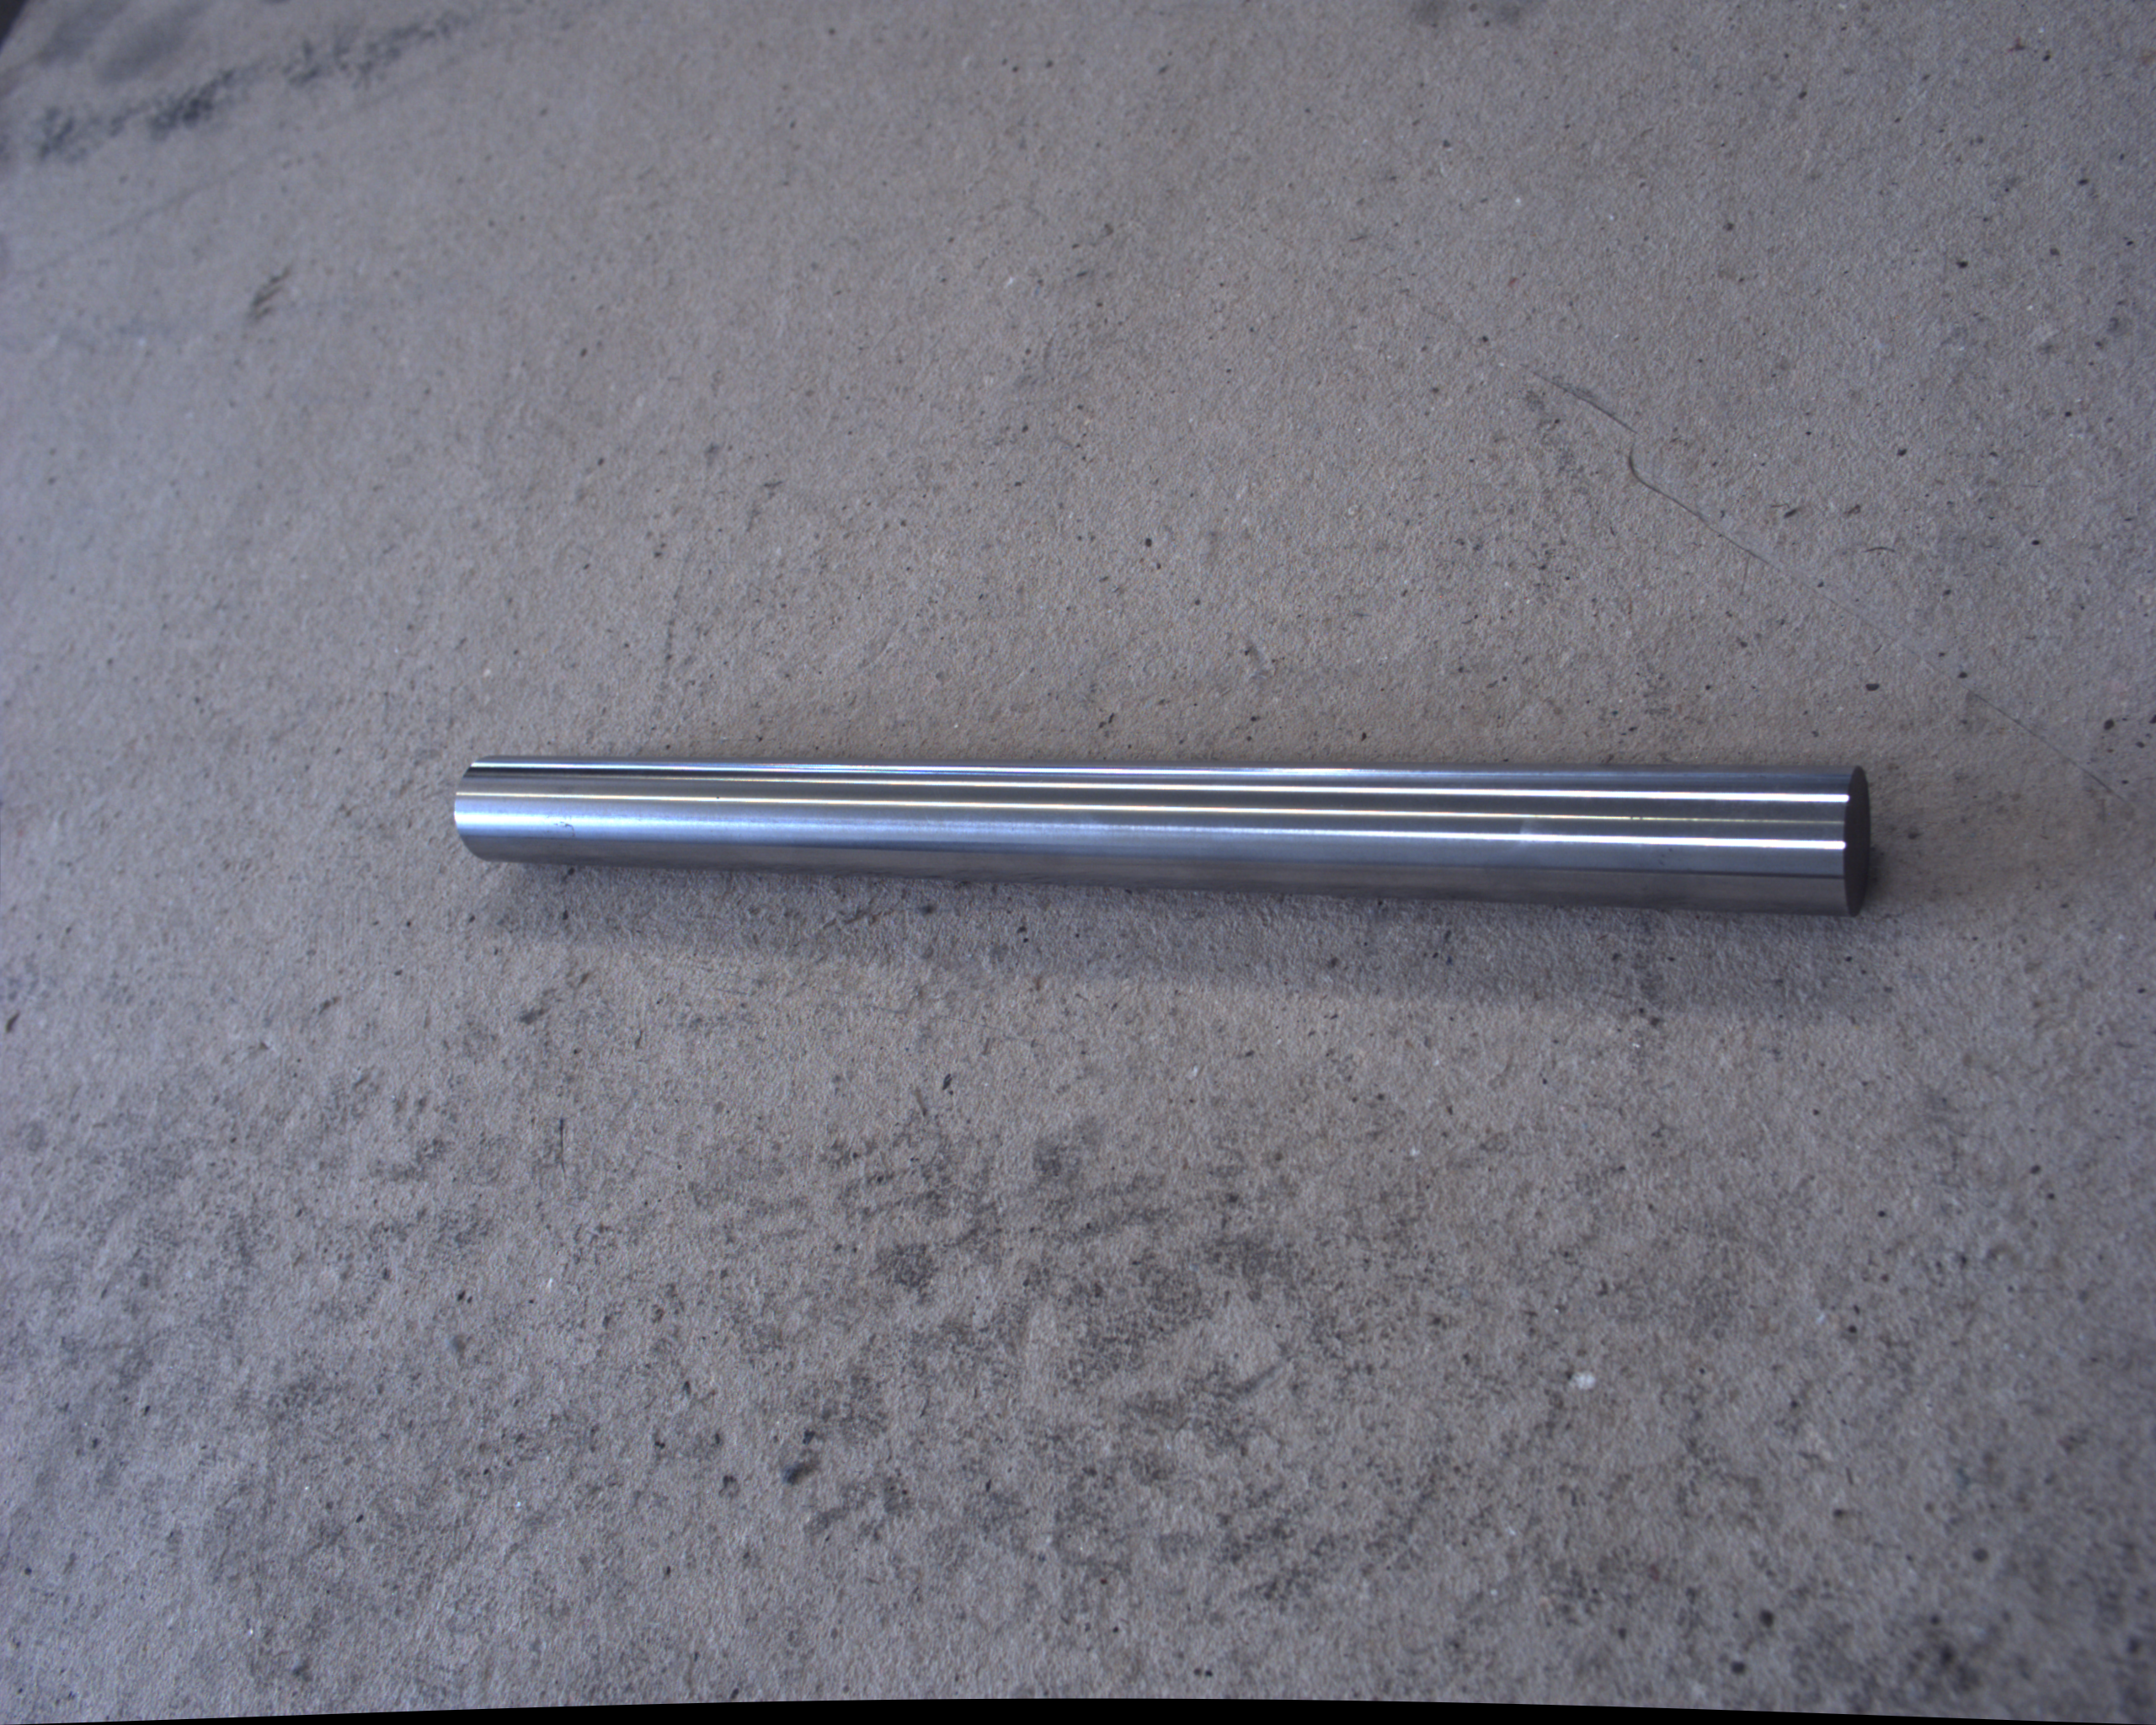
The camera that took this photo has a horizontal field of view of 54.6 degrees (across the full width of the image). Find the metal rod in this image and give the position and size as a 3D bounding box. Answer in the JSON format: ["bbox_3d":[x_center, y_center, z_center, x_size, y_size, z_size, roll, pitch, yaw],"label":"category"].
[{"bbox_3d":[-0.004,-0.008,0.413,0.300,0.025,0.025,2,63,29],"label":"metal rod"}]
